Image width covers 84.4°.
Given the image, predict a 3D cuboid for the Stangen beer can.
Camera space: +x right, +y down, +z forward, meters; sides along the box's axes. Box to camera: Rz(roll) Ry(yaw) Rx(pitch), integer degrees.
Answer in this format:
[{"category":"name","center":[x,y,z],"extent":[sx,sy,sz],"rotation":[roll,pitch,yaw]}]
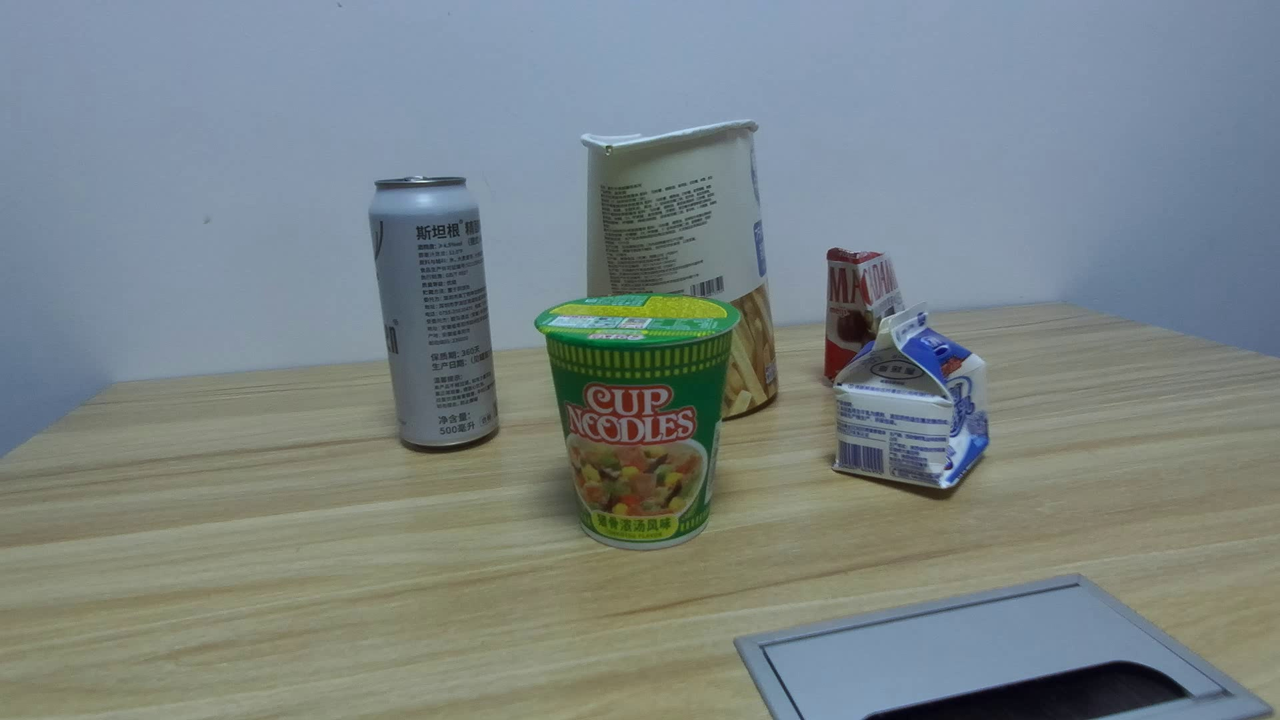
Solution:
[{"category":"Stangen beer can","center":[-0.131,-0.029,0.456],"extent":[0.067,0.171,0.067],"rotation":[-2,15,1]}]

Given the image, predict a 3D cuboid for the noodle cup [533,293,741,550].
[{"category":"noodle cup","center":[0.002,0.030,0.353],"extent":[0.097,0.110,0.097],"rotation":[-3,16,1]}]

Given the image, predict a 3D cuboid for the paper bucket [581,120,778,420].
[{"category":"paper bucket","center":[0.030,-0.068,0.519],"extent":[0.148,0.199,0.217],"rotation":[-4,16,-9]}]

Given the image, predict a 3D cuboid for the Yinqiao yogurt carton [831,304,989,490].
[{"category":"Yinqiao yogurt carton","center":[0.154,0.017,0.409],"extent":[0.070,0.094,0.078],"rotation":[4,16,40]}]

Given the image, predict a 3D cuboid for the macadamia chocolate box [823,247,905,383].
[{"category":"macadamia chocolate box","center":[0.179,-0.034,0.542],"extent":[0.056,0.112,0.127],"rotation":[7,16,31]}]
